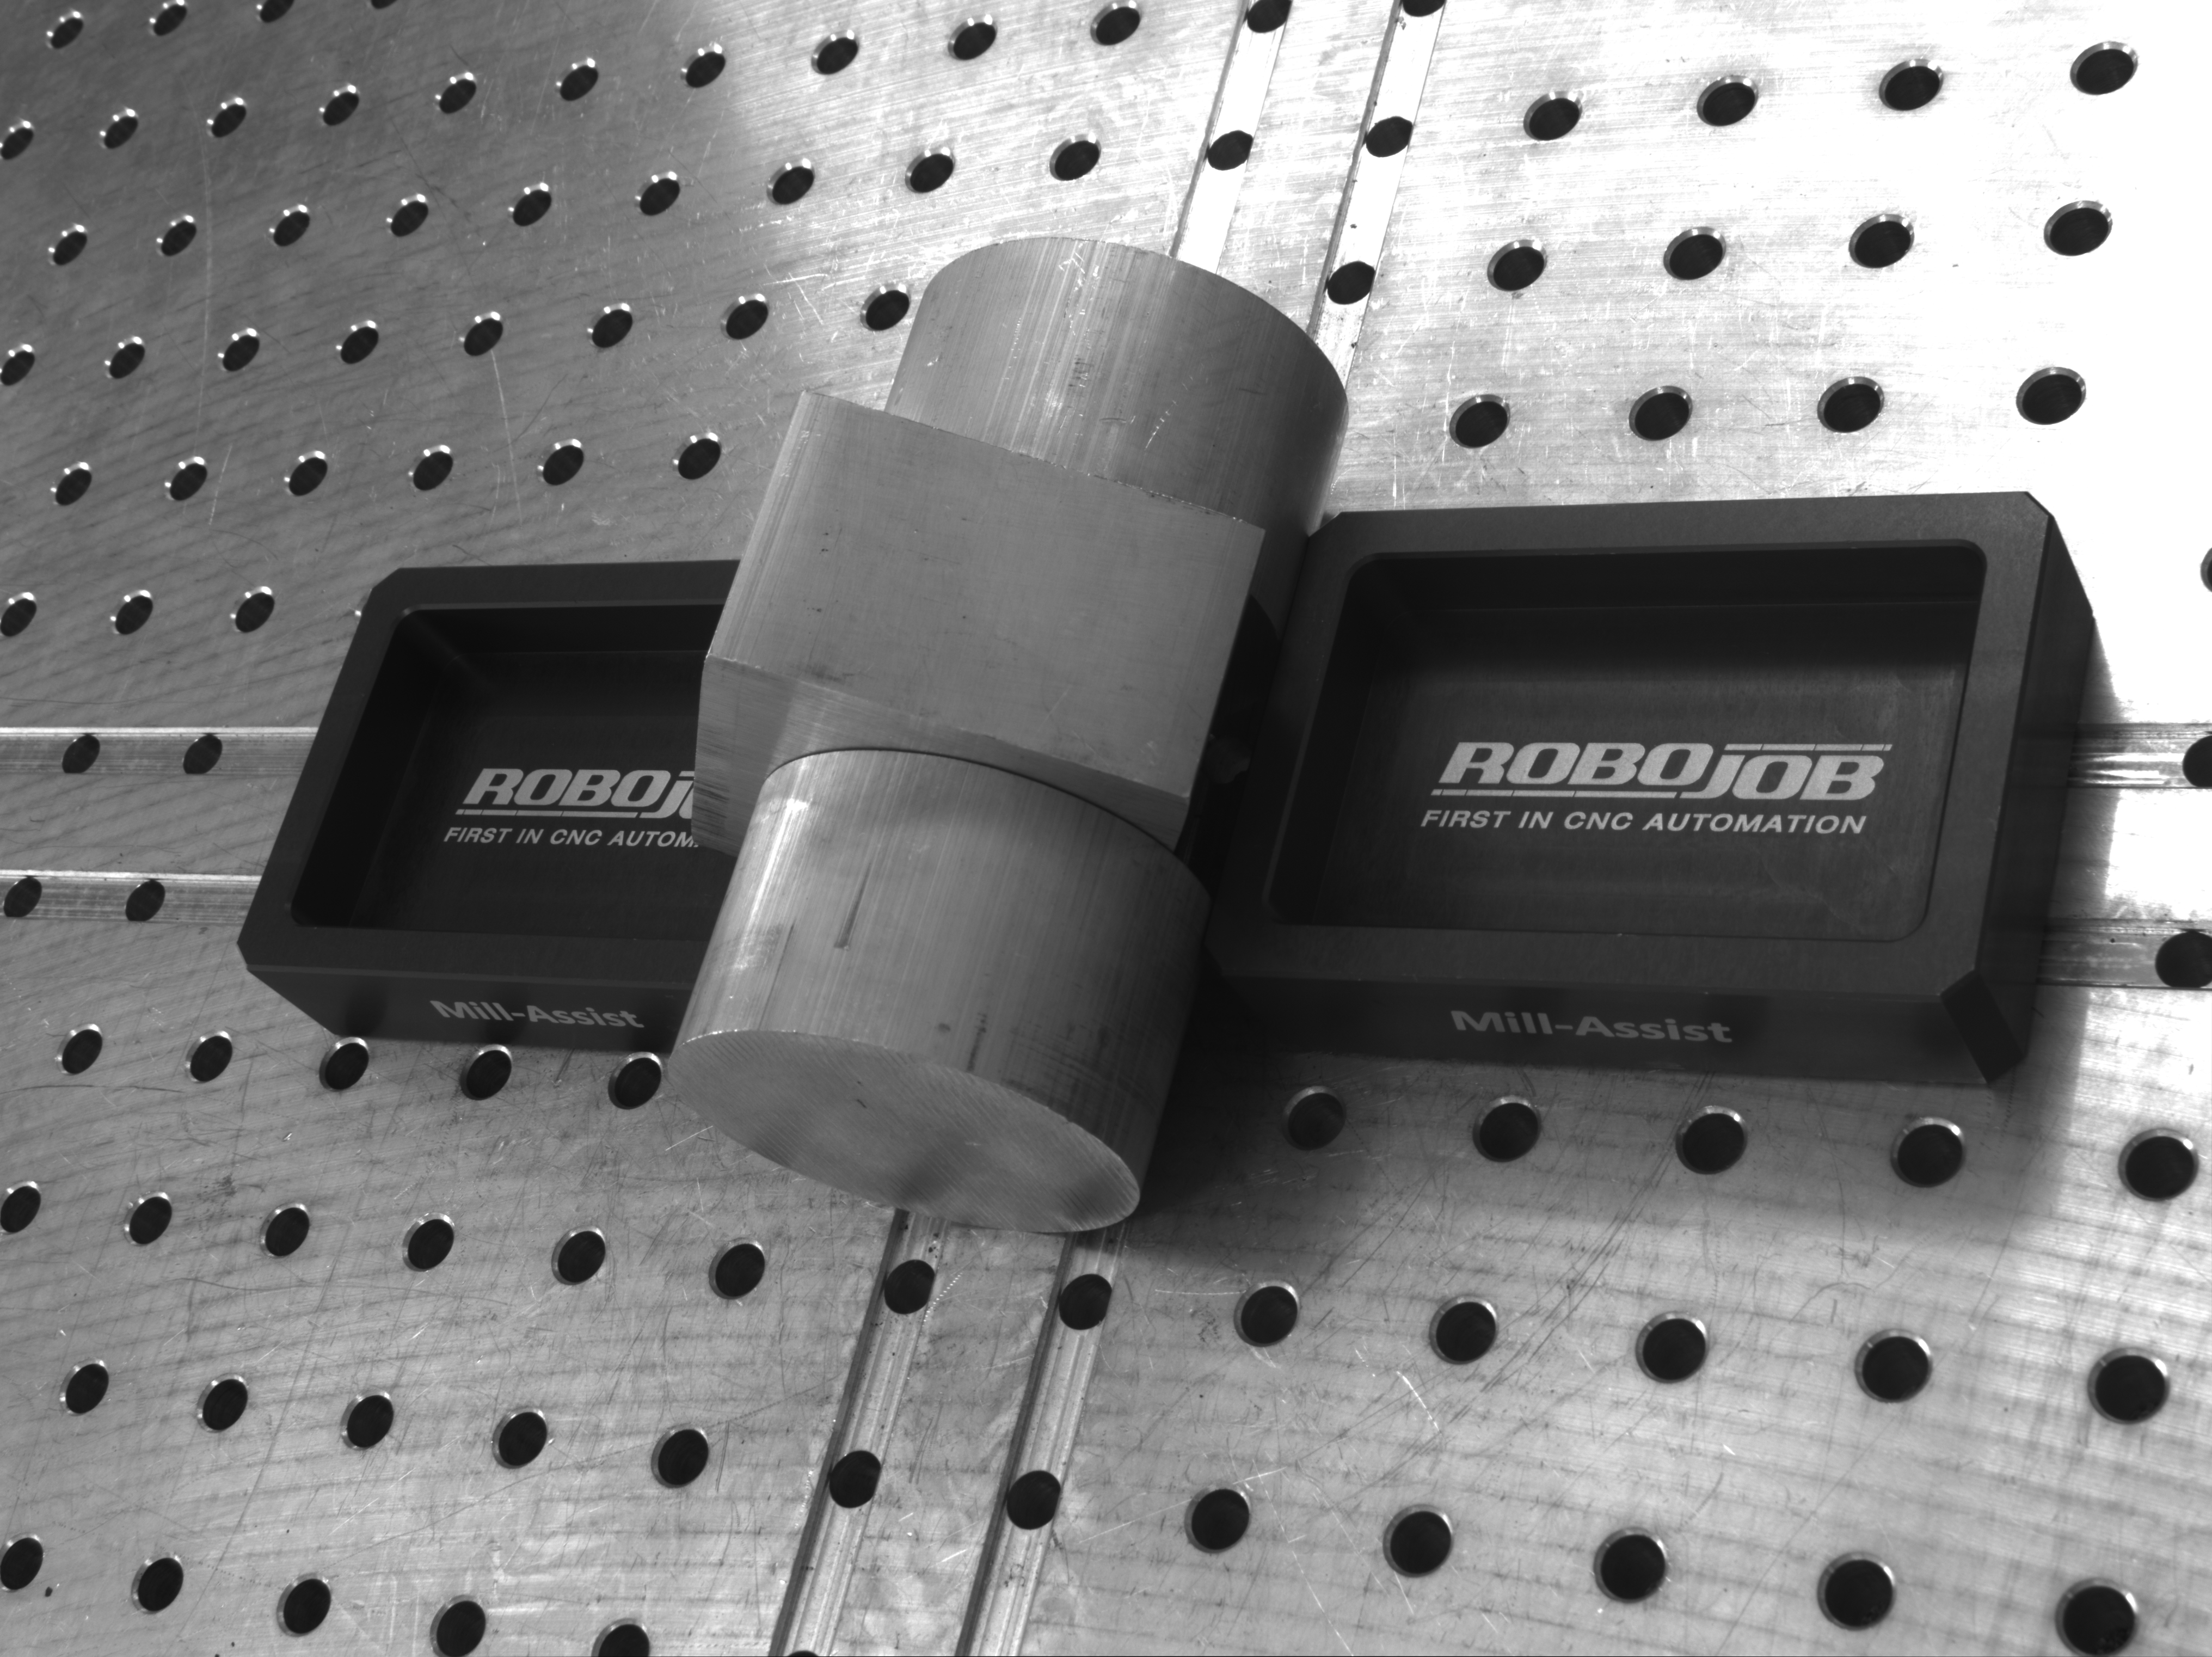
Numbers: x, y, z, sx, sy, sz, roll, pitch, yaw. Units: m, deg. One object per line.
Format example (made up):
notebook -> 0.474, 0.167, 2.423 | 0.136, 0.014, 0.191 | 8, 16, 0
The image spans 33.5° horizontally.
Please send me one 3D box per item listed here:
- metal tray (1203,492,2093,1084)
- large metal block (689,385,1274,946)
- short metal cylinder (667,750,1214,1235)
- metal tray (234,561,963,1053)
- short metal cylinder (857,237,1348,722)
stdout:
metal tray -> 0.088, -0.008, 0.602 | 0.130, 0.030, 0.090 | 1, 62, 29
large metal block -> -0.023, -0.023, 0.621 | 0.080, 0.080, 0.050 | 17, 66, -1
short metal cylinder -> -0.027, 0.028, 0.610 | 0.080, 0.080, 0.050 | 2, 62, 29
metal tray -> -0.094, -0.005, 0.699 | 0.130, 0.030, 0.090 | 1, 62, 29
short metal cylinder -> -0.002, -0.060, 0.651 | 0.080, 0.080, 0.050 | 1, 62, 29
